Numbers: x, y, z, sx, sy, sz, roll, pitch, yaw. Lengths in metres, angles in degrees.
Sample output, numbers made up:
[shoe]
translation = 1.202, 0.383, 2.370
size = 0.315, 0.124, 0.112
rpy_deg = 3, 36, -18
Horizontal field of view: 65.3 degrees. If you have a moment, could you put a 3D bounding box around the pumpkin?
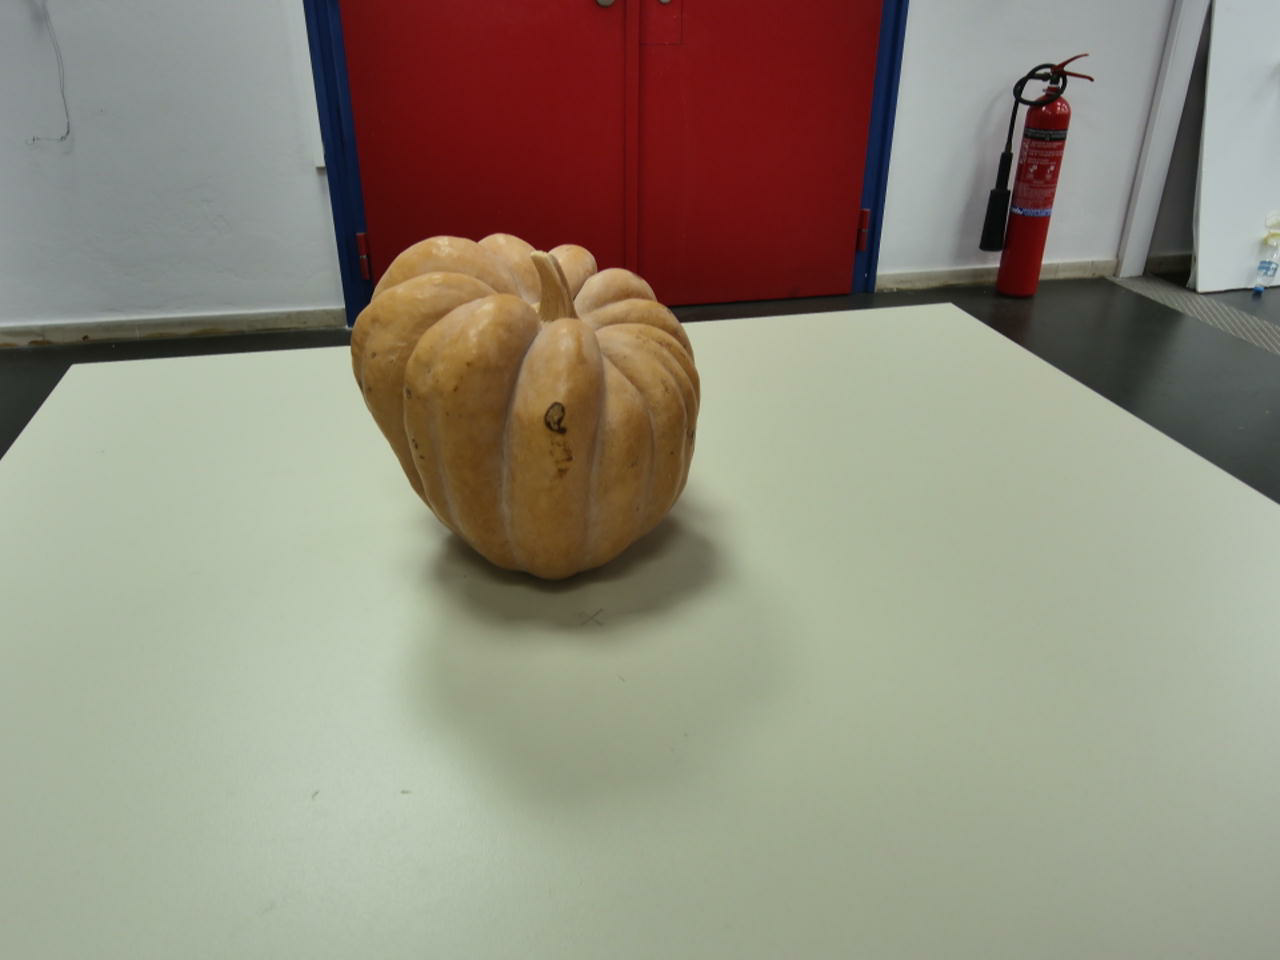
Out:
[pumpkin]
translation = -0.059, -0.043, 0.556
size = 0.199, 0.177, 0.198
rpy_deg = 0, 27, 0
